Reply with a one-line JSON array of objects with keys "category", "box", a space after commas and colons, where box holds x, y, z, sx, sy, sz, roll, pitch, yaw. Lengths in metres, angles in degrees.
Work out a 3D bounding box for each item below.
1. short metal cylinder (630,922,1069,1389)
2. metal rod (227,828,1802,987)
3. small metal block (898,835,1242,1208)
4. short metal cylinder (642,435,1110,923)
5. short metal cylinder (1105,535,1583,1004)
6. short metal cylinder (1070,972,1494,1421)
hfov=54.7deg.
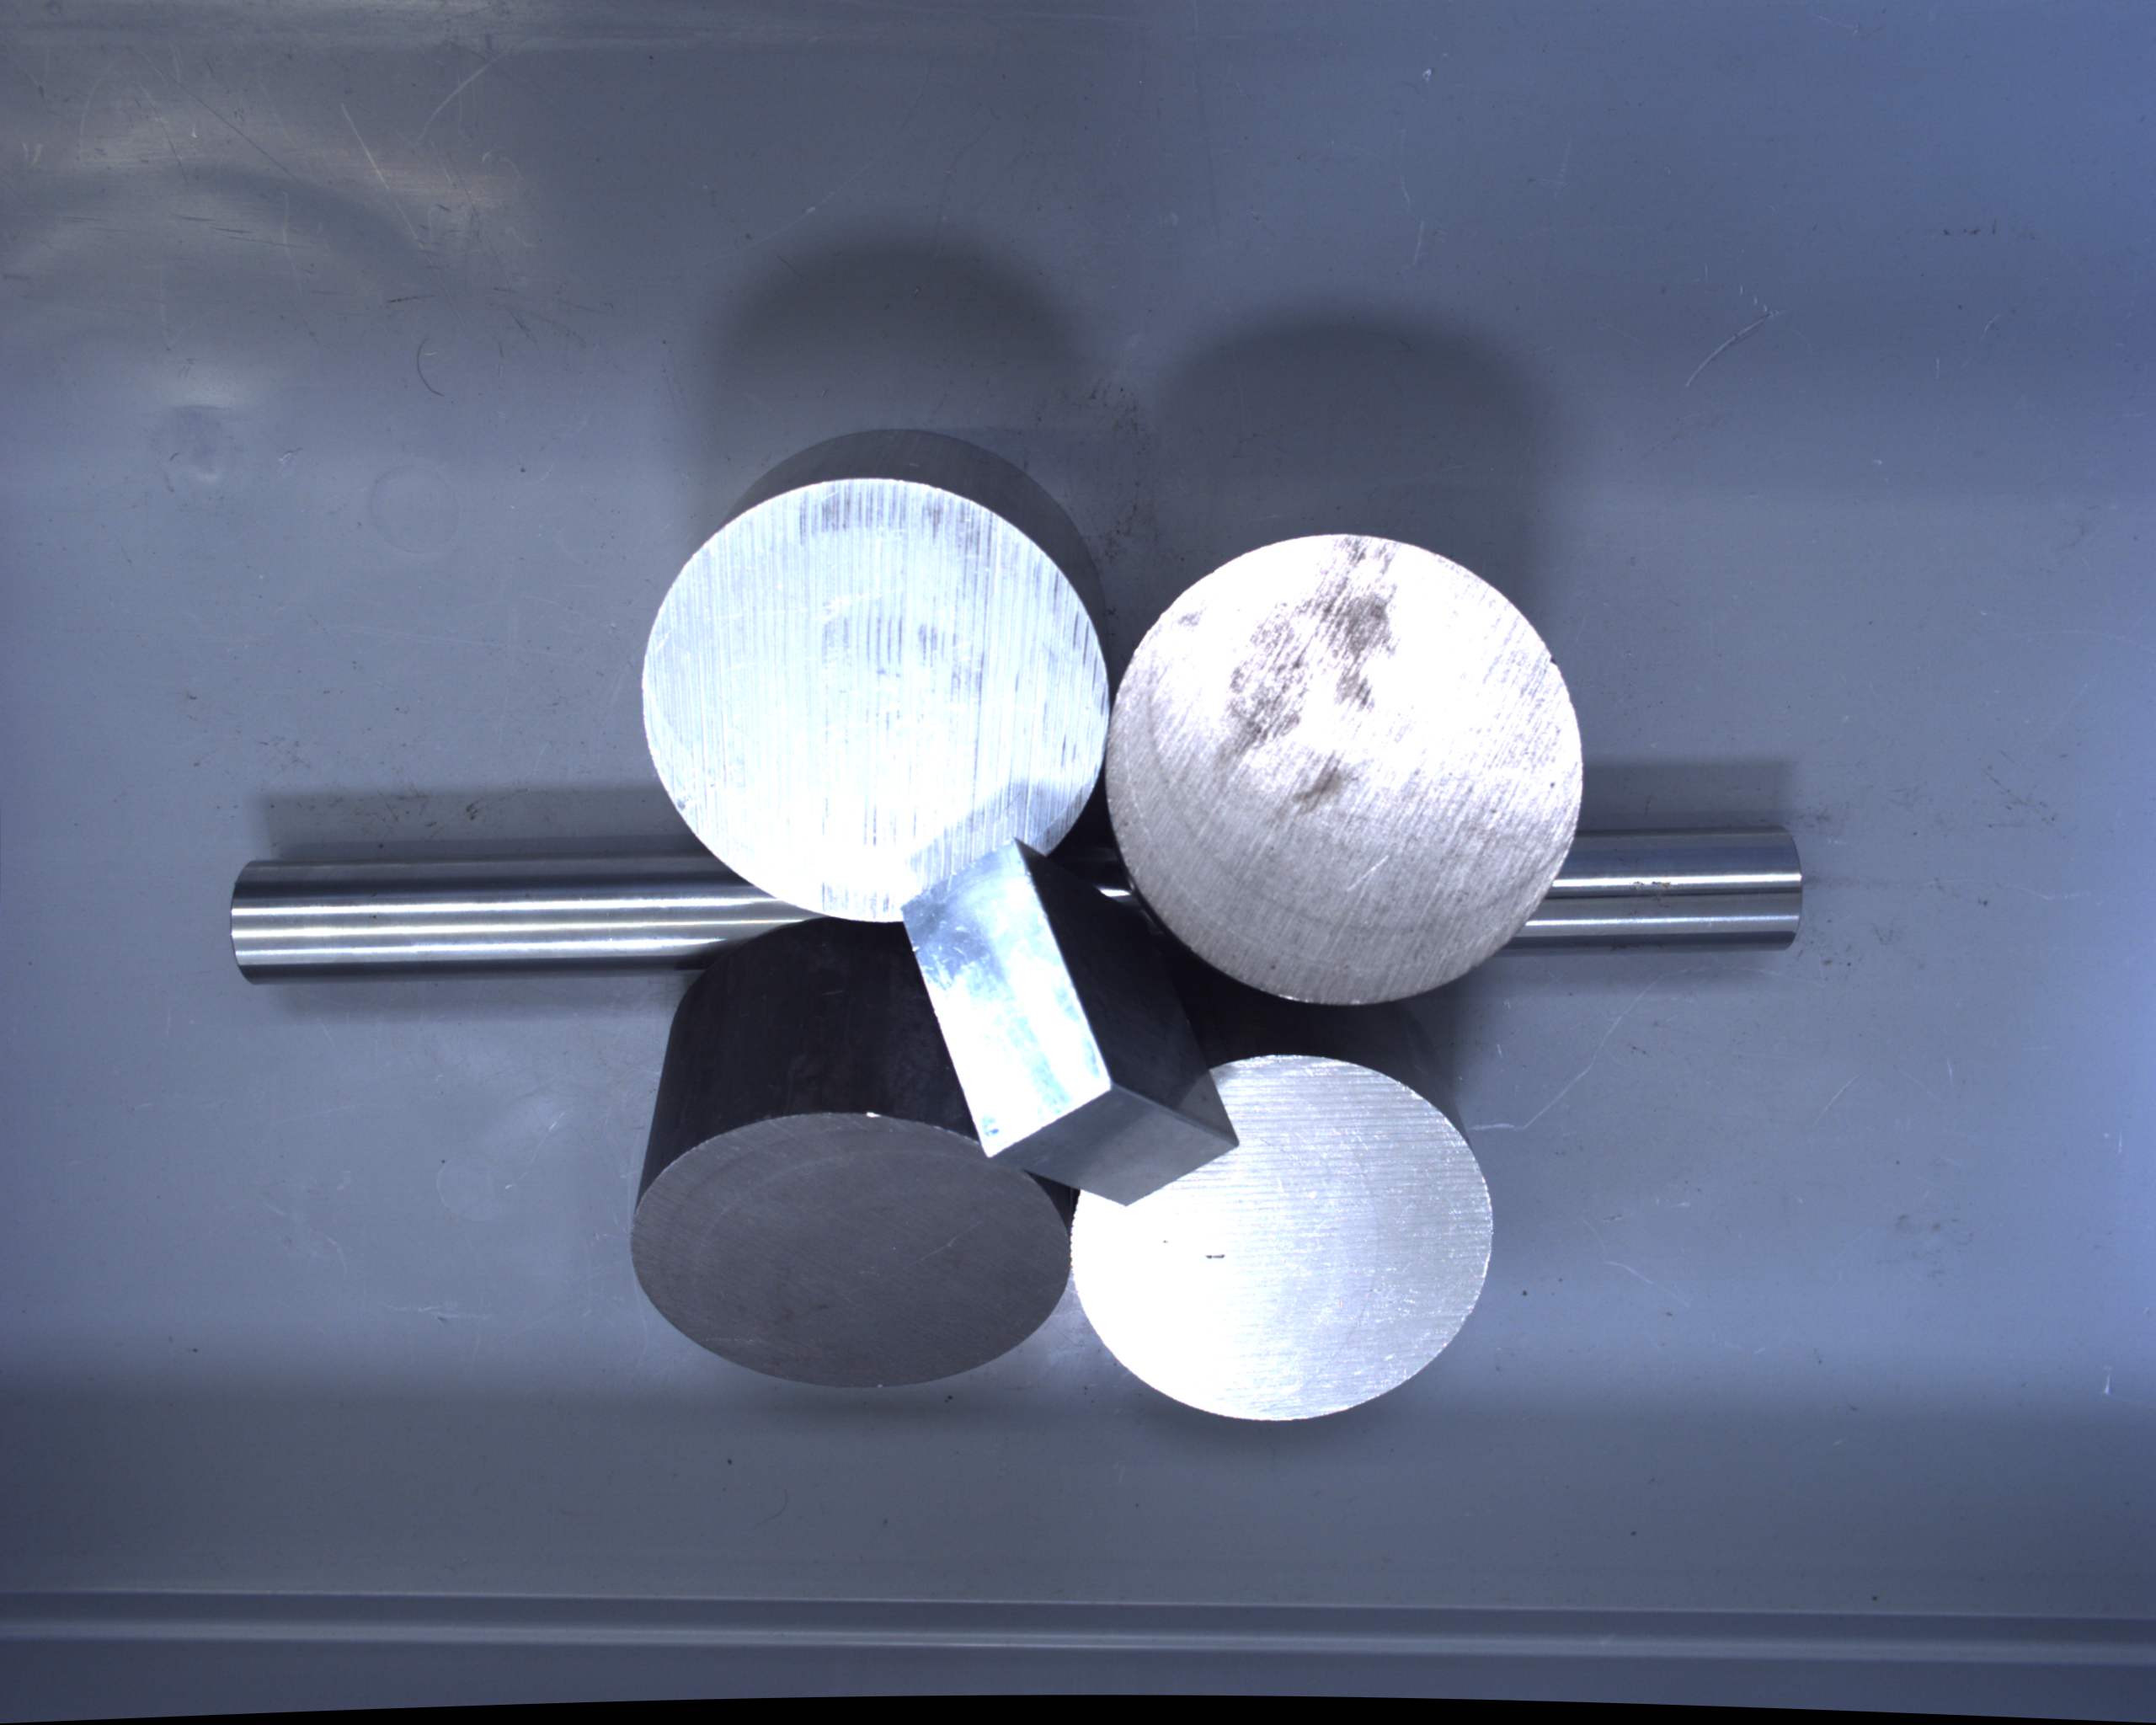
[{"category": "short metal cylinder", "box": [-0.042, 0.057, 0.404, 0.081, 0.050, 0.079, -1, 130, -1]}, {"category": "metal rod", "box": [-0.012, 0.009, 0.412, 0.302, 0.025, 0.025, -1, 110, 0]}, {"category": "small metal block", "box": [-0.001, 0.029, 0.369, 0.025, 0.050, 0.050, -32, 149, 17]}, {"category": "short metal cylinder", "box": [-0.035, -0.035, 0.383, 0.081, 0.050, 0.079, 0, 110, 0]}, {"category": "short metal cylinder", "box": [0.045, -0.015, 0.377, 0.081, 0.050, 0.080, 0, 87, 0]}, {"category": "short metal cylinder", "box": [0.039, 0.064, 0.420, 0.081, 0.050, 0.079, 0, 110, 0]}]
